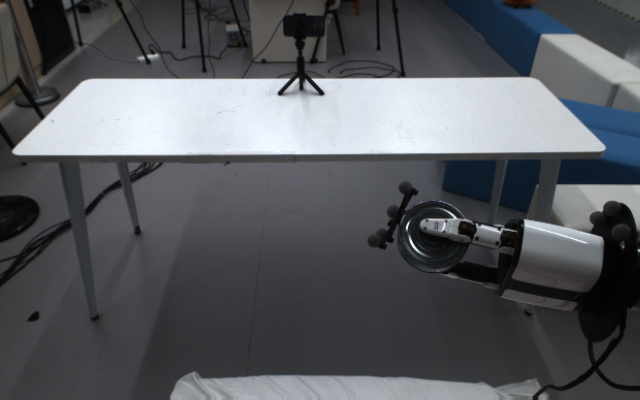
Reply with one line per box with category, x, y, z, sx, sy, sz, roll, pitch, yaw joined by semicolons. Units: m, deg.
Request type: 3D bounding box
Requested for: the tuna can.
tuna can;0.140;0.042;0.589;0.085;0.034;0.085;-2;71;5
